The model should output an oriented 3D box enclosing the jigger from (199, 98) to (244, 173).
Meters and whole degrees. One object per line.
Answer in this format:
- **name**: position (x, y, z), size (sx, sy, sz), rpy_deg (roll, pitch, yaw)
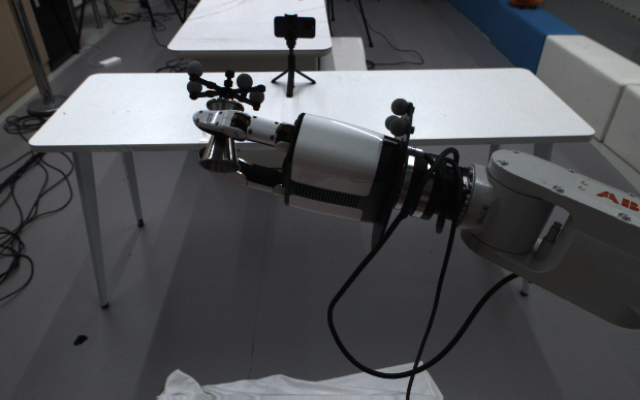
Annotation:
- **jigger**: position (-0.104, -0.068, 0.511), size (0.043, 0.043, 0.071), rpy_deg (2, 76, 0)
